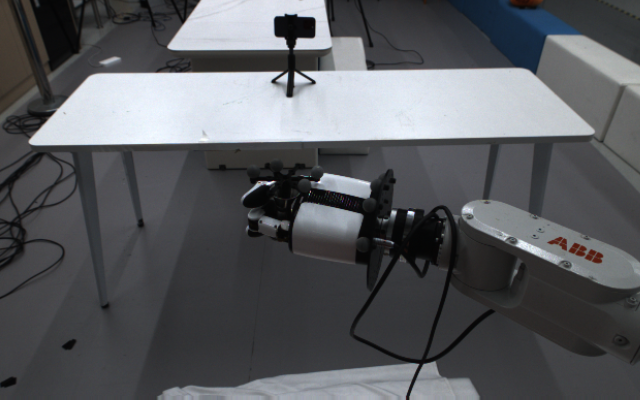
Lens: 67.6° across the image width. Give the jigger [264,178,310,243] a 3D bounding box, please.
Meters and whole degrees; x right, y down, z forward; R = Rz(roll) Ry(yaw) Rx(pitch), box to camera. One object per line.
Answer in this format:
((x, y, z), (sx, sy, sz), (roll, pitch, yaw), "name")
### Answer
((-0.044, 0.015, 0.649), (0.043, 0.071, 0.043), (4, 31, -2), "jigger")
